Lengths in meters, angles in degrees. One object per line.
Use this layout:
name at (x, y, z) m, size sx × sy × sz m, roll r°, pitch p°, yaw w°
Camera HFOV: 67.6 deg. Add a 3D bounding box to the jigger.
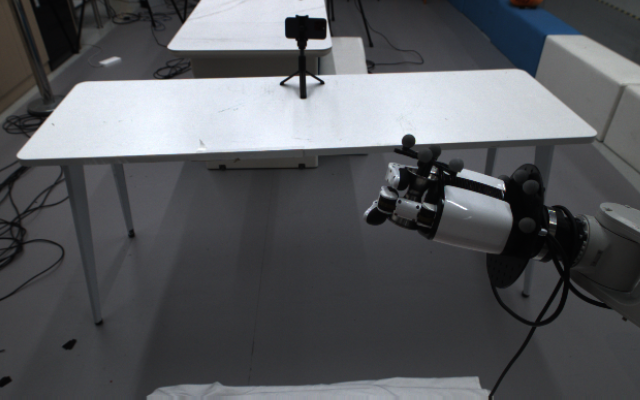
jigger at (0.117, -0.002, 0.607) m, size 0.043 × 0.071 × 0.043 m, roll 18°, pitch 17°, yaw -6°
